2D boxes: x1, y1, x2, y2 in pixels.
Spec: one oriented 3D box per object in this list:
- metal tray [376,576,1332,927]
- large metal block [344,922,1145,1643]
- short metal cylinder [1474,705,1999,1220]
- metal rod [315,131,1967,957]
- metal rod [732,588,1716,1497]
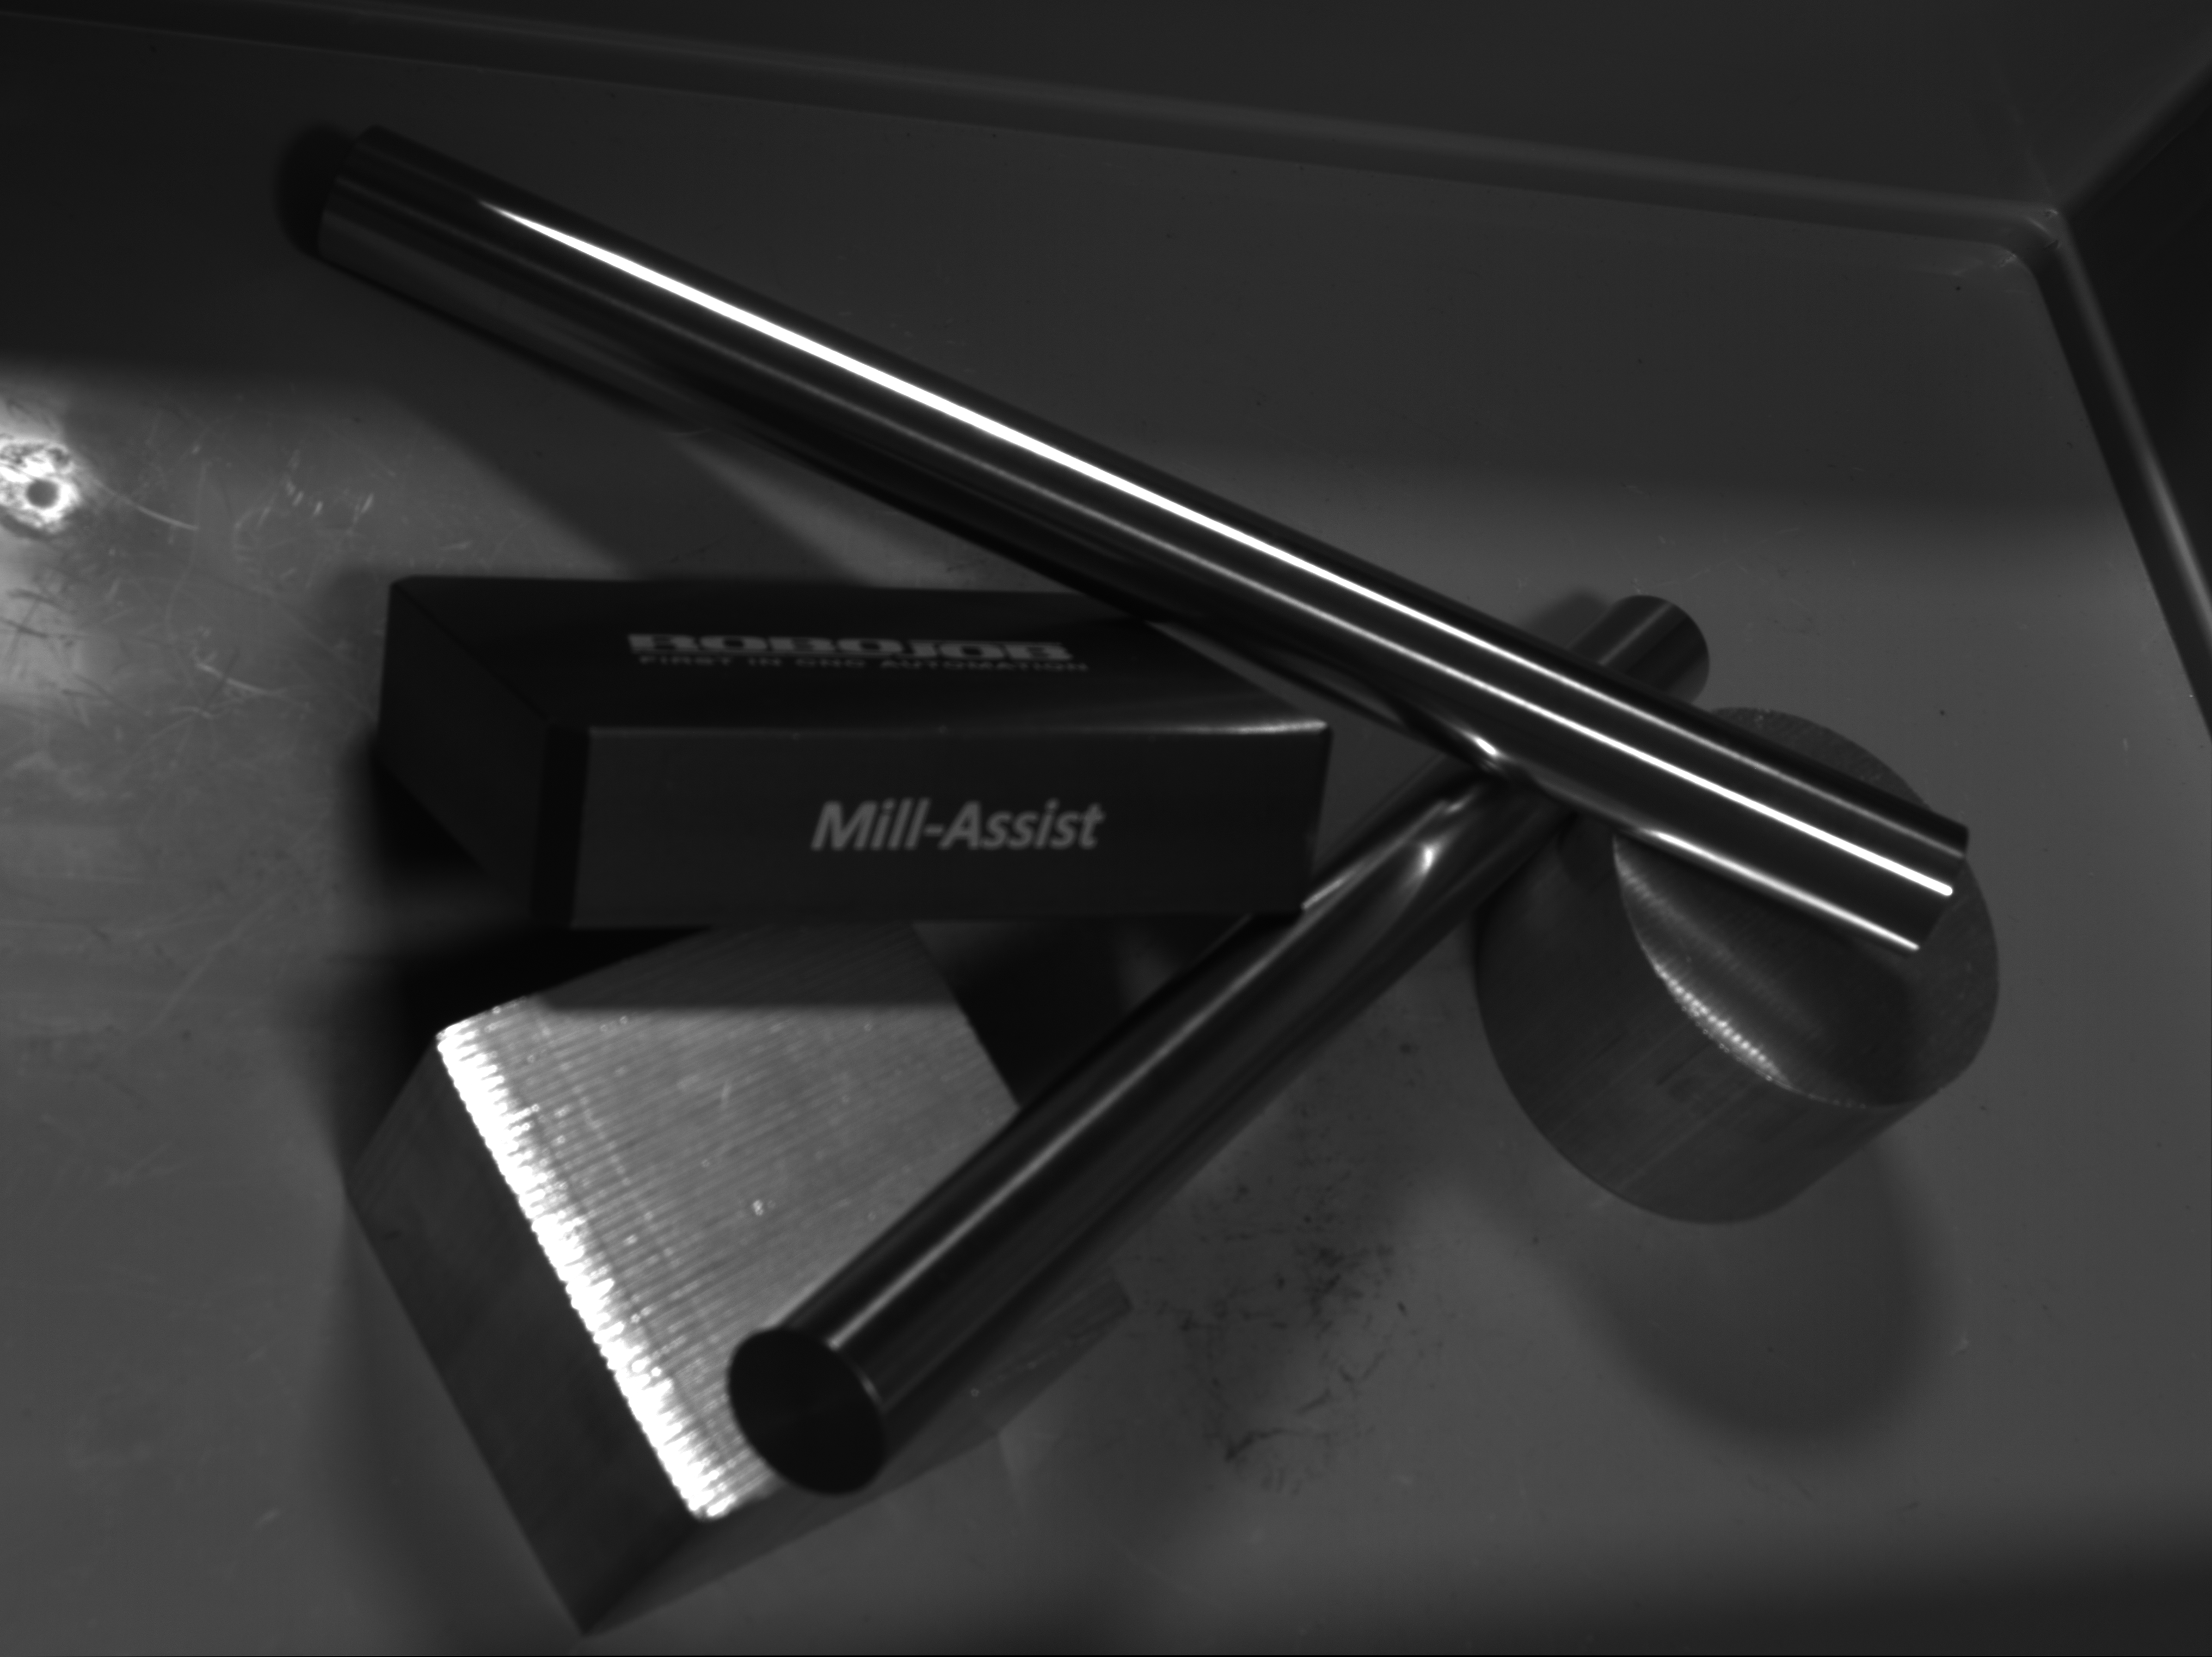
[{"bbox_3d":[-0.041,-0.014,0.586,0.130,0.030,0.090,0,18,-27],"label":"metal tray"},{"bbox_3d":[-0.055,0.063,0.551,0.080,0.050,0.080,-21,73,-36],"label":"large metal block"},{"bbox_3d":[0.114,0.025,0.668,0.080,0.050,0.080,14,56,-21],"label":"short metal cylinder"},{"bbox_3d":[0.005,-0.050,0.634,0.300,0.025,0.025,24,52,2],"label":"metal rod"},{"bbox_3d":[0.034,0.021,0.597,0.025,0.025,0.301,47,37,5],"label":"metal rod"}]
